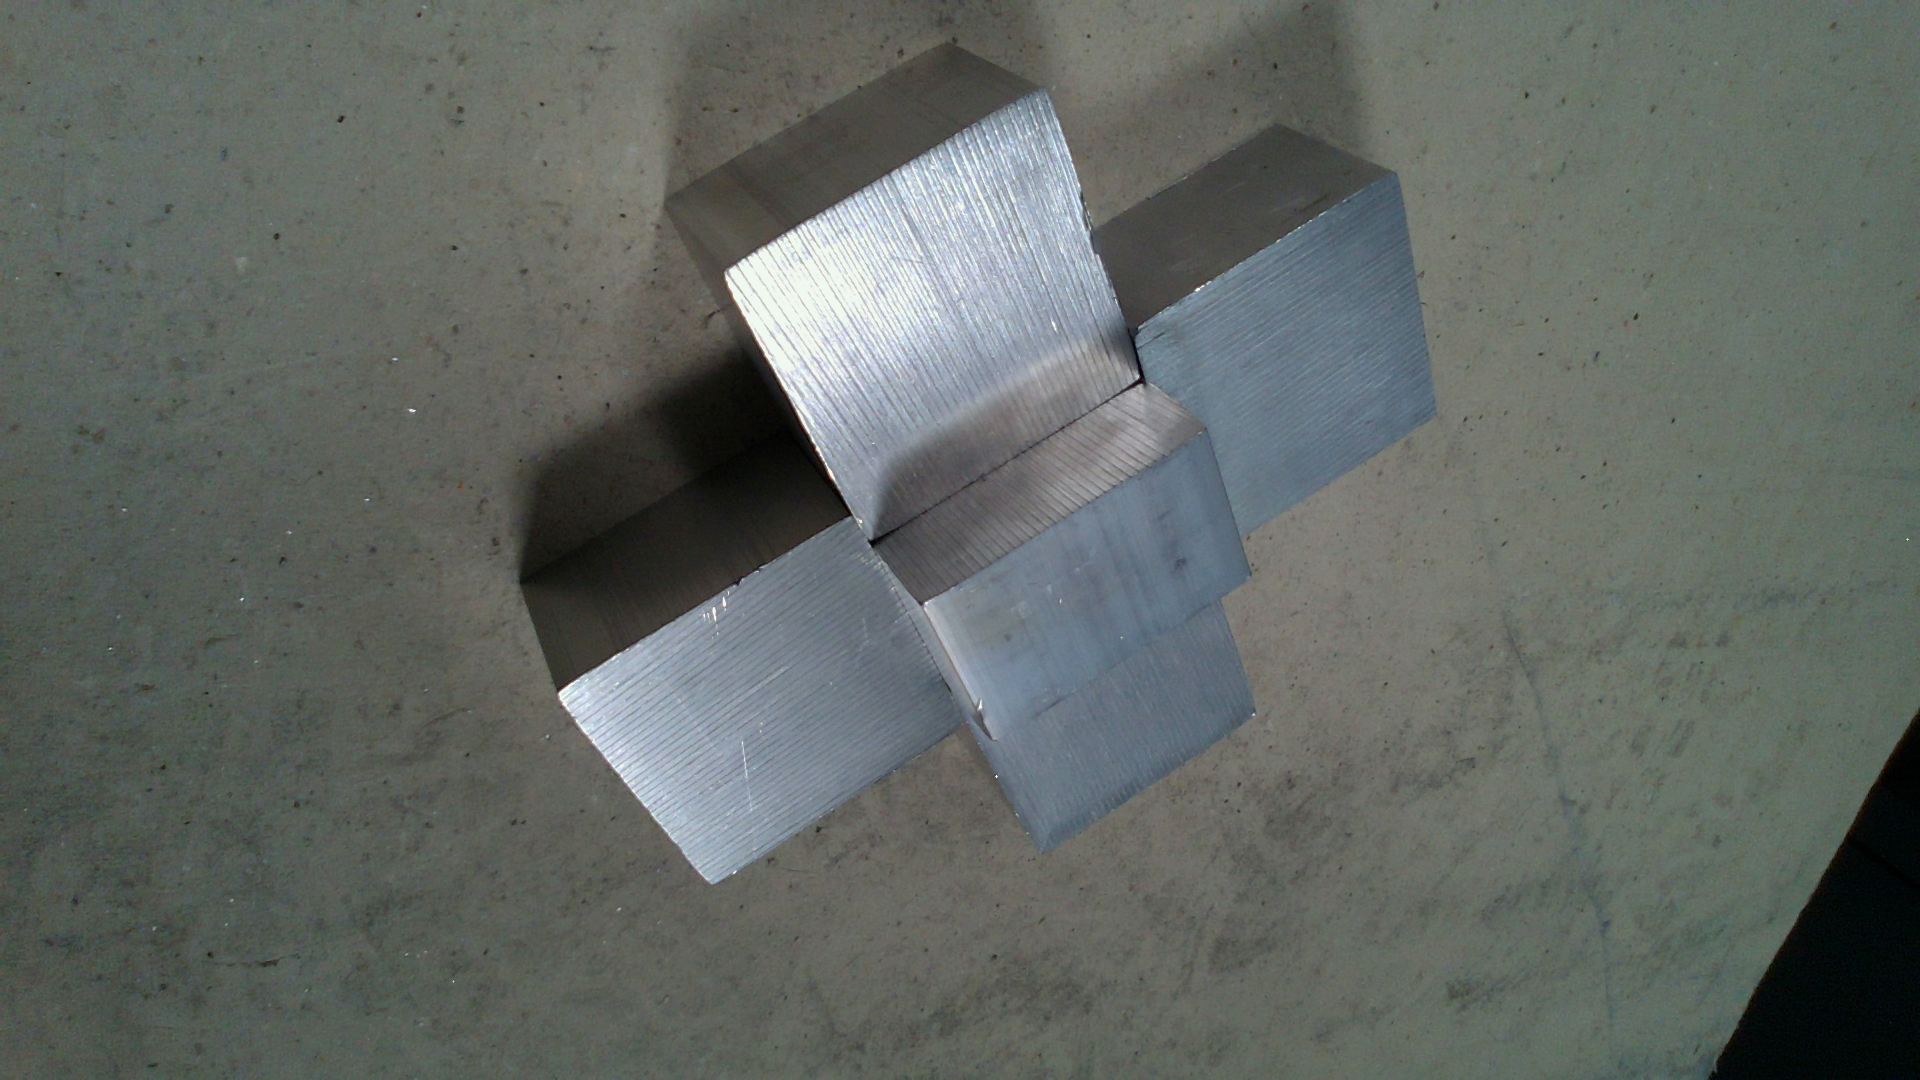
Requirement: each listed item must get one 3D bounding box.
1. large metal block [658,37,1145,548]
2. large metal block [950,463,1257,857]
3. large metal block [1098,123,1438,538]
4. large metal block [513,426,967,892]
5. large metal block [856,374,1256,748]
[{"bbox_3d":[-0.012,-0.059,0.329,0.080,0.050,0.080,-32,129,-8],"label":"large metal block"},{"bbox_3d":[0.033,0.034,0.411,0.080,0.050,0.080,-32,129,-8],"label":"large metal block"},{"bbox_3d":[0.079,-0.054,0.381,0.080,0.050,0.080,-32,129,-8],"label":"large metal block"},{"bbox_3d":[-0.056,0.031,0.361,0.080,0.050,0.080,-32,129,-8],"label":"large metal block"},{"bbox_3d":[0.016,-0.007,0.358,0.080,0.080,0.050,-32,129,-8],"label":"large metal block"}]
